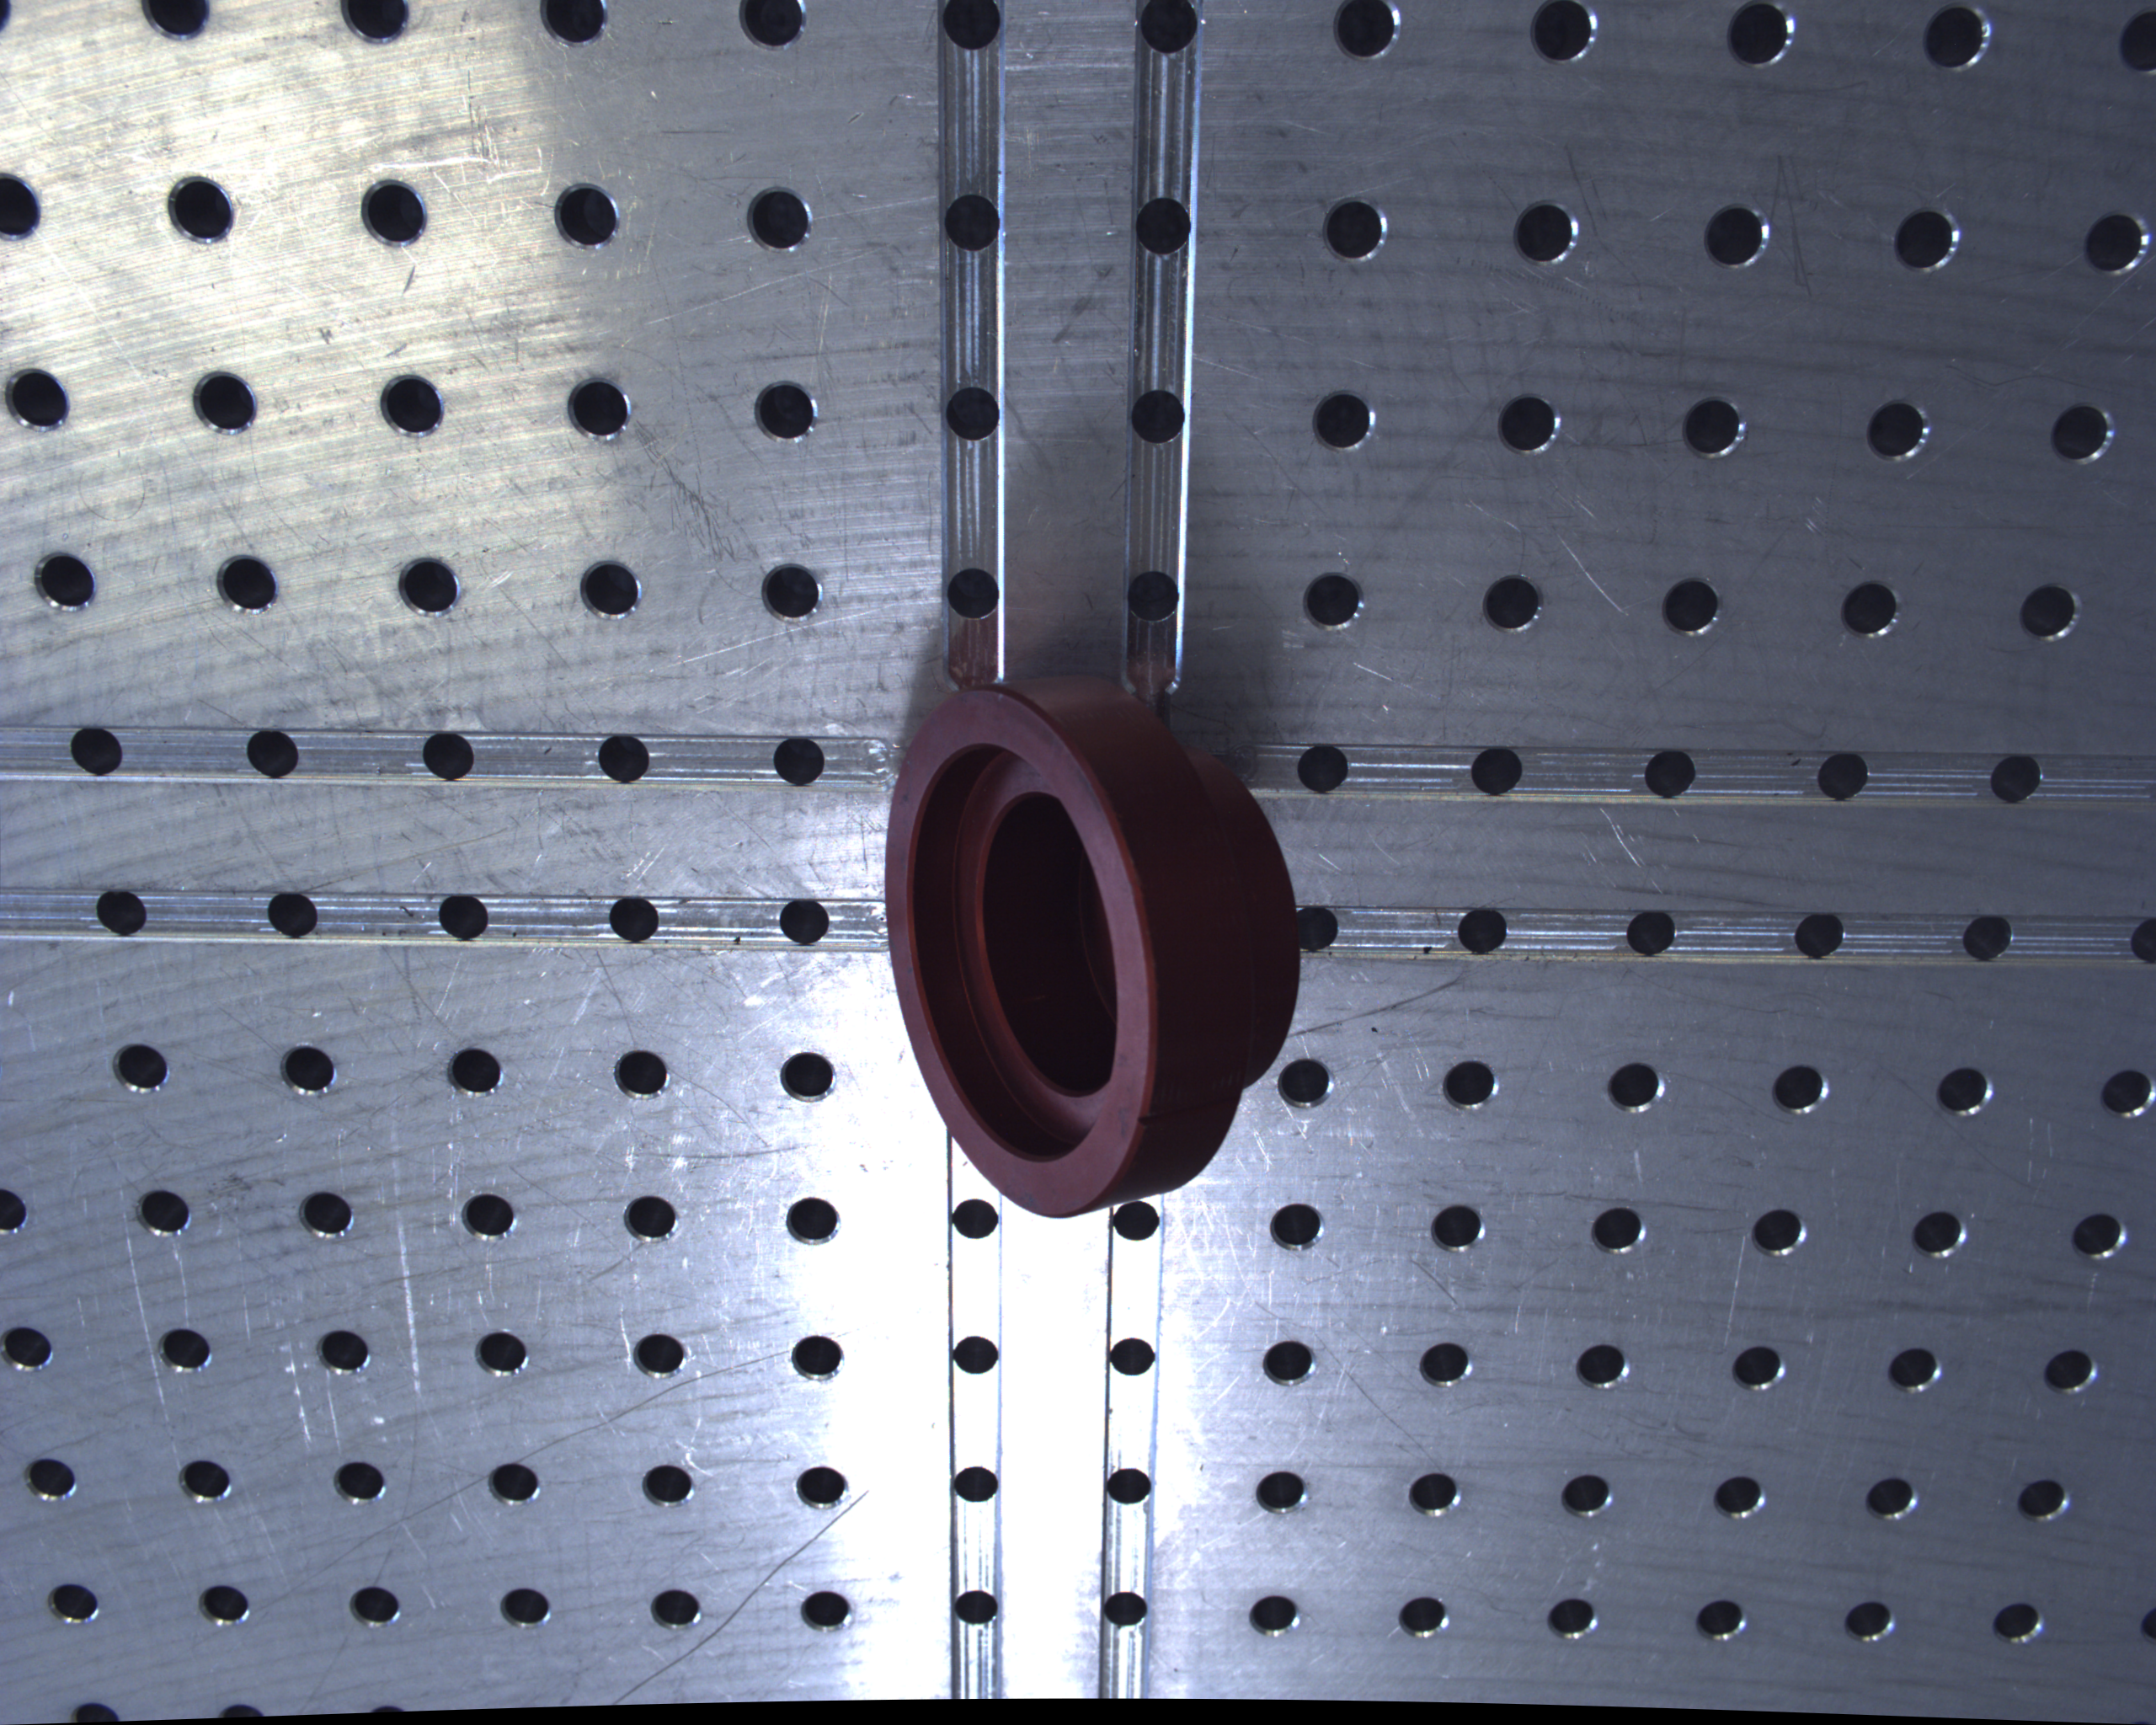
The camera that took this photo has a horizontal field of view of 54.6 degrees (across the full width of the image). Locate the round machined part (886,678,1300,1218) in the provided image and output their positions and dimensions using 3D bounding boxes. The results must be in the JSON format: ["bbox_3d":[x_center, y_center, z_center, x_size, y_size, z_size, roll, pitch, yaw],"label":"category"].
[{"bbox_3d":[0.004,0.014,0.390,0.042,0.098,0.097,-9,114,-30],"label":"round machined part"}]
